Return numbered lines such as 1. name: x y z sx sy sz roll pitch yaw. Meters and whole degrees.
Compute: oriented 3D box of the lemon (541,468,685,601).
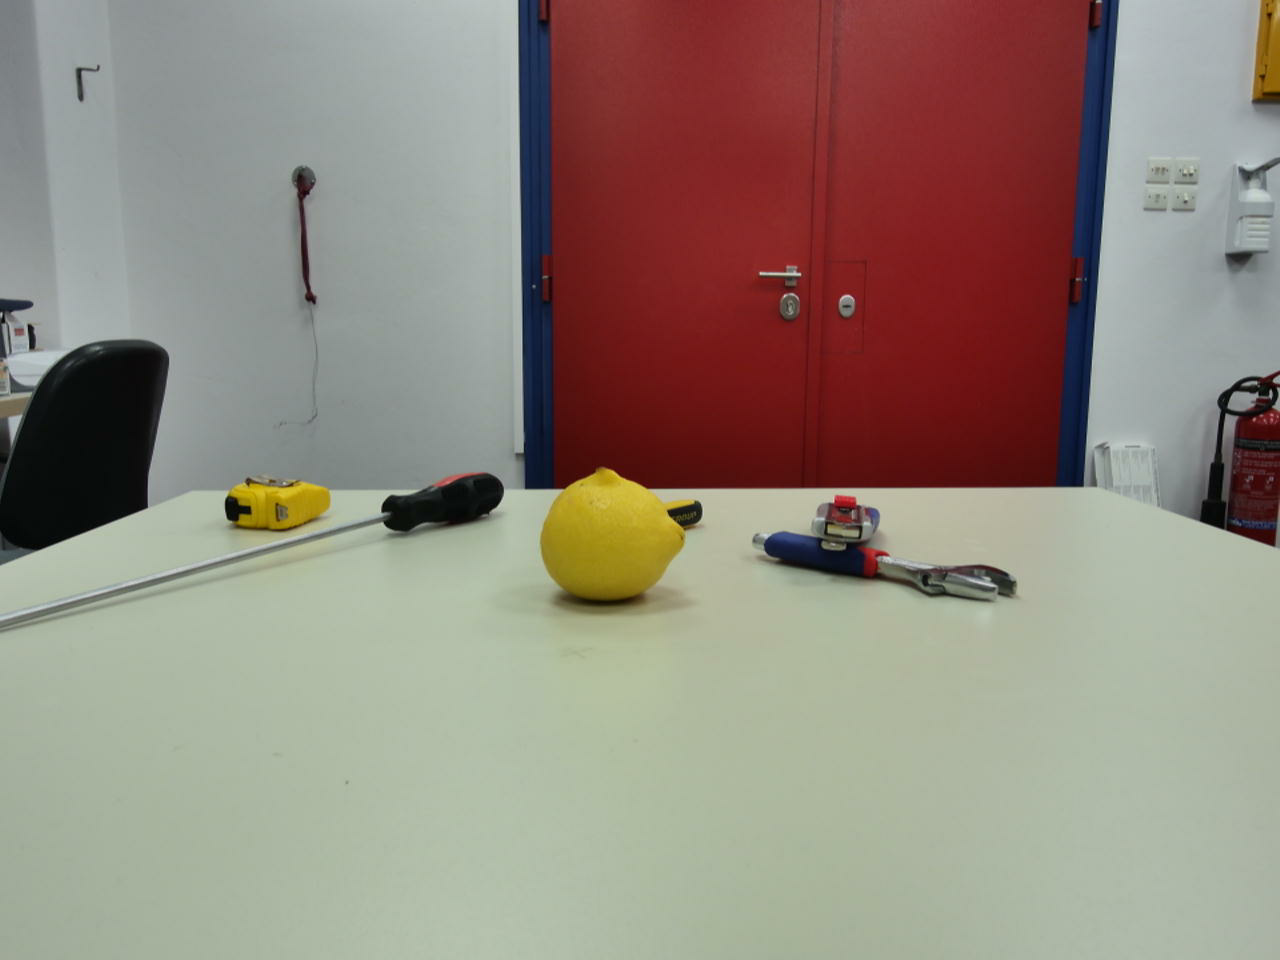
1. lemon: -0.017 0.029 0.538 0.070 0.071 0.071 -5 8 -34
